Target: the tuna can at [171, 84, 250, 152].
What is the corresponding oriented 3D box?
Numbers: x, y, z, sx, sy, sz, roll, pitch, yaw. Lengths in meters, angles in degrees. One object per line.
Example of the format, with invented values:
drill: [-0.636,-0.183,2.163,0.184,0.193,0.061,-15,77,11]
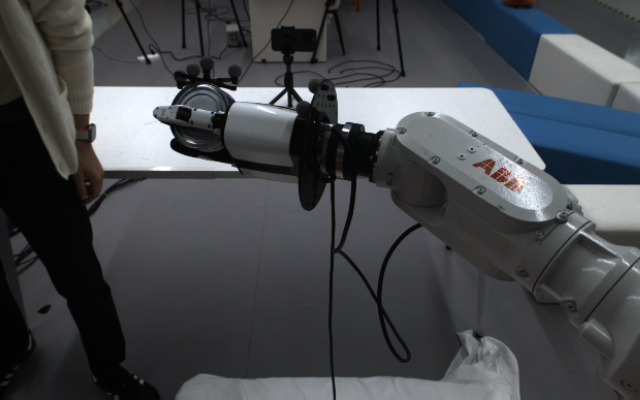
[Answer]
tuna can: [-0.148,-0.105,0.623,0.085,0.085,0.034,15,0,18]
